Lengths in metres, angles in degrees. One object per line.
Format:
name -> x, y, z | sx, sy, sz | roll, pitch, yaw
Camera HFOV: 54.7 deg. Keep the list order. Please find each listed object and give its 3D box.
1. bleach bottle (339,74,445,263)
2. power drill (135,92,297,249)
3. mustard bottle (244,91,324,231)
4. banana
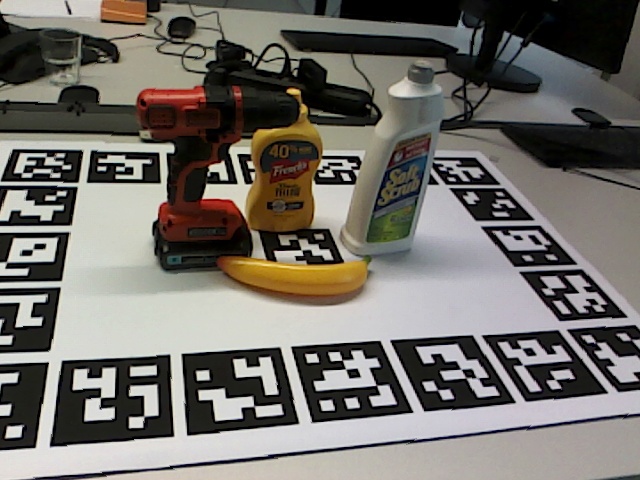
bleach bottle -> 0.096, -0.089, 0.796 | 0.102, 0.250, 0.068 | -6, 38, -22
power drill -> -0.126, -0.083, 0.734 | 0.184, 0.187, 0.058 | 0, 28, -20
mustard bottle -> -0.045, -0.104, 0.819 | 0.096, 0.191, 0.059 | 1, 35, -16
banana -> -0.018, 0.039, 0.748 | 0.197, 0.039, 0.074 | 0, 39, -12
